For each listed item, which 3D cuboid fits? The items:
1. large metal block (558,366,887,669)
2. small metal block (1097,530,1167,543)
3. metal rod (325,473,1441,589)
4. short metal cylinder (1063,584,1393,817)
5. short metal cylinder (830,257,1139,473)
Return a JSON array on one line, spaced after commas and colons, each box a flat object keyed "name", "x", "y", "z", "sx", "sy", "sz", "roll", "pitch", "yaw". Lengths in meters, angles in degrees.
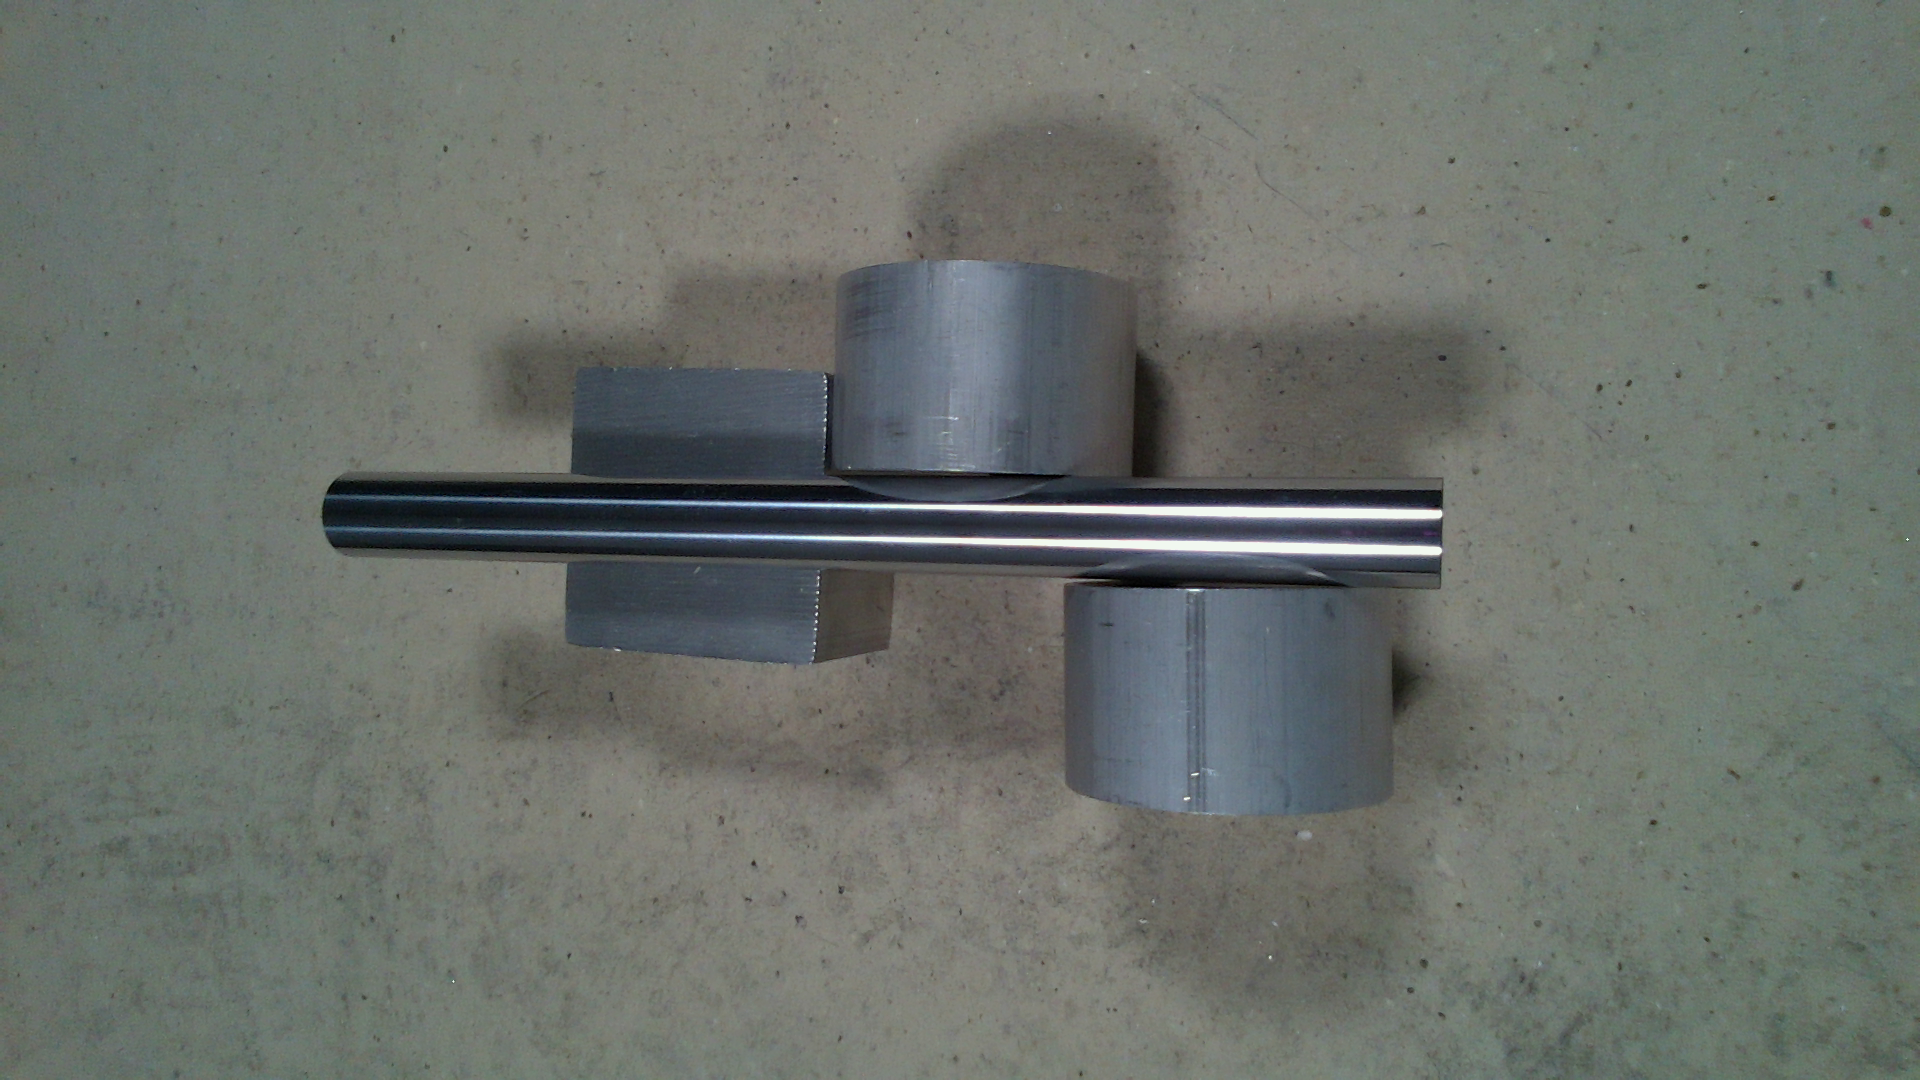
[{"name": "large metal block", "x": -0.067, "y": -0.008, "z": 0.404, "sx": 0.080, "sy": 0.050, "sz": 0.080, "roll": 3, "pitch": 91, "yaw": 20}, {"name": "small metal block", "x": 0.039, "y": -0.003, "z": 0.367, "sx": 0.050, "sy": 0.050, "sz": 0.025, "roll": 1, "pitch": 91, "yaw": 20}, {"name": "metal rod", "x": -0.035, "y": -0.004, "z": 0.354, "sx": 0.299, "sy": 0.025, "sz": 0.025, "roll": 1, "pitch": 91, "yaw": 19}, {"name": "short metal cylinder", "x": 0.066, "y": 0.036, "z": 0.343, "sx": 0.080, "sy": 0.080, "sz": 0.050, "roll": 0, "pitch": 90, "yaw": 20}, {"name": "short metal cylinder", "x": 0.006, "y": -0.042, "z": 0.365, "sx": 0.080, "sy": 0.080, "sz": 0.050, "roll": 2, "pitch": 91, "yaw": 20}]
